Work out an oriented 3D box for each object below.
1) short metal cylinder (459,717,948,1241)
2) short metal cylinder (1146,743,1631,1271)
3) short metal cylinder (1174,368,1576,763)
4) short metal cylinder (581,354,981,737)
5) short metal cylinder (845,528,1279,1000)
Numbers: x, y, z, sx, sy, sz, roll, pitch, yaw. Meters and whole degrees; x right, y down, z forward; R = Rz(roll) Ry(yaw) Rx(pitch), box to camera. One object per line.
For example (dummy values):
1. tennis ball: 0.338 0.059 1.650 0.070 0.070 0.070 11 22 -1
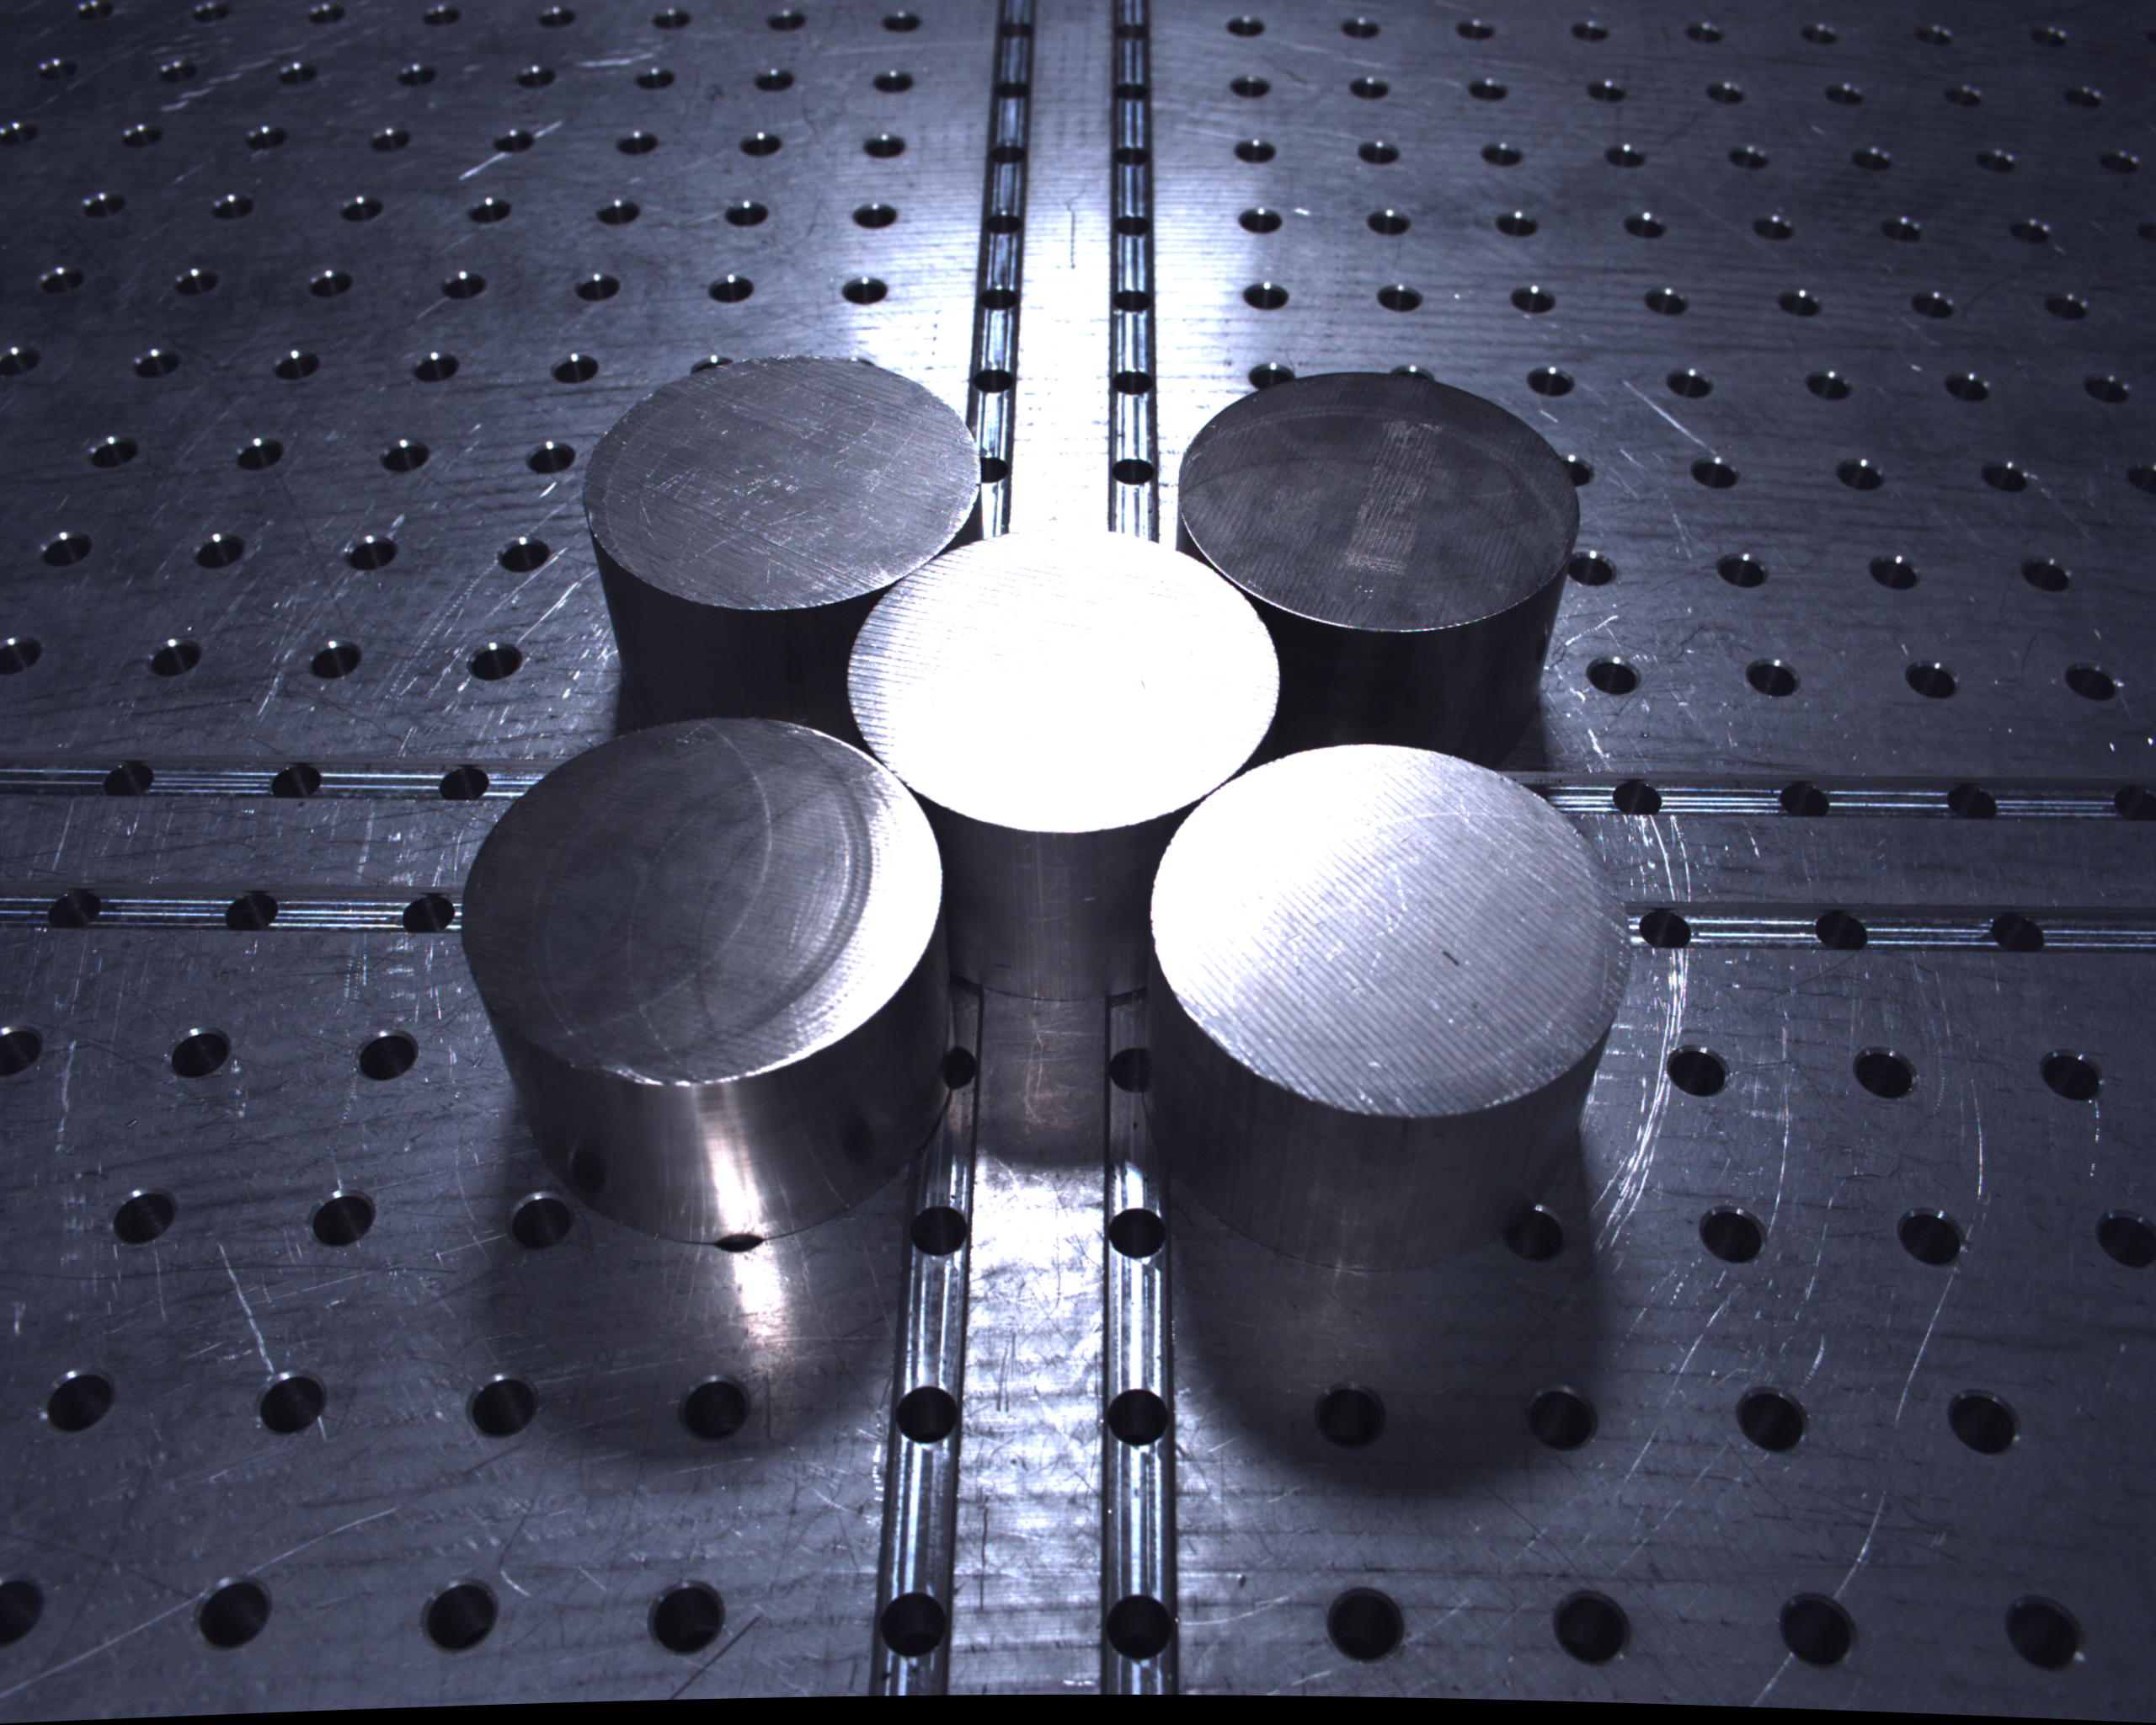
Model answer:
1. short metal cylinder: -0.064 0.020 0.372 0.081 0.050 0.080 0 50 0
2. short metal cylinder: 0.052 0.025 0.370 0.081 0.050 0.080 0 50 0
3. short metal cylinder: 0.060 -0.059 0.439 0.081 0.050 0.080 0 50 0
4. short metal cylinder: -0.060 -0.063 0.443 0.081 0.050 0.080 0 50 0
5. short metal cylinder: -0.003 -0.020 0.407 0.081 0.050 0.080 0 50 0
